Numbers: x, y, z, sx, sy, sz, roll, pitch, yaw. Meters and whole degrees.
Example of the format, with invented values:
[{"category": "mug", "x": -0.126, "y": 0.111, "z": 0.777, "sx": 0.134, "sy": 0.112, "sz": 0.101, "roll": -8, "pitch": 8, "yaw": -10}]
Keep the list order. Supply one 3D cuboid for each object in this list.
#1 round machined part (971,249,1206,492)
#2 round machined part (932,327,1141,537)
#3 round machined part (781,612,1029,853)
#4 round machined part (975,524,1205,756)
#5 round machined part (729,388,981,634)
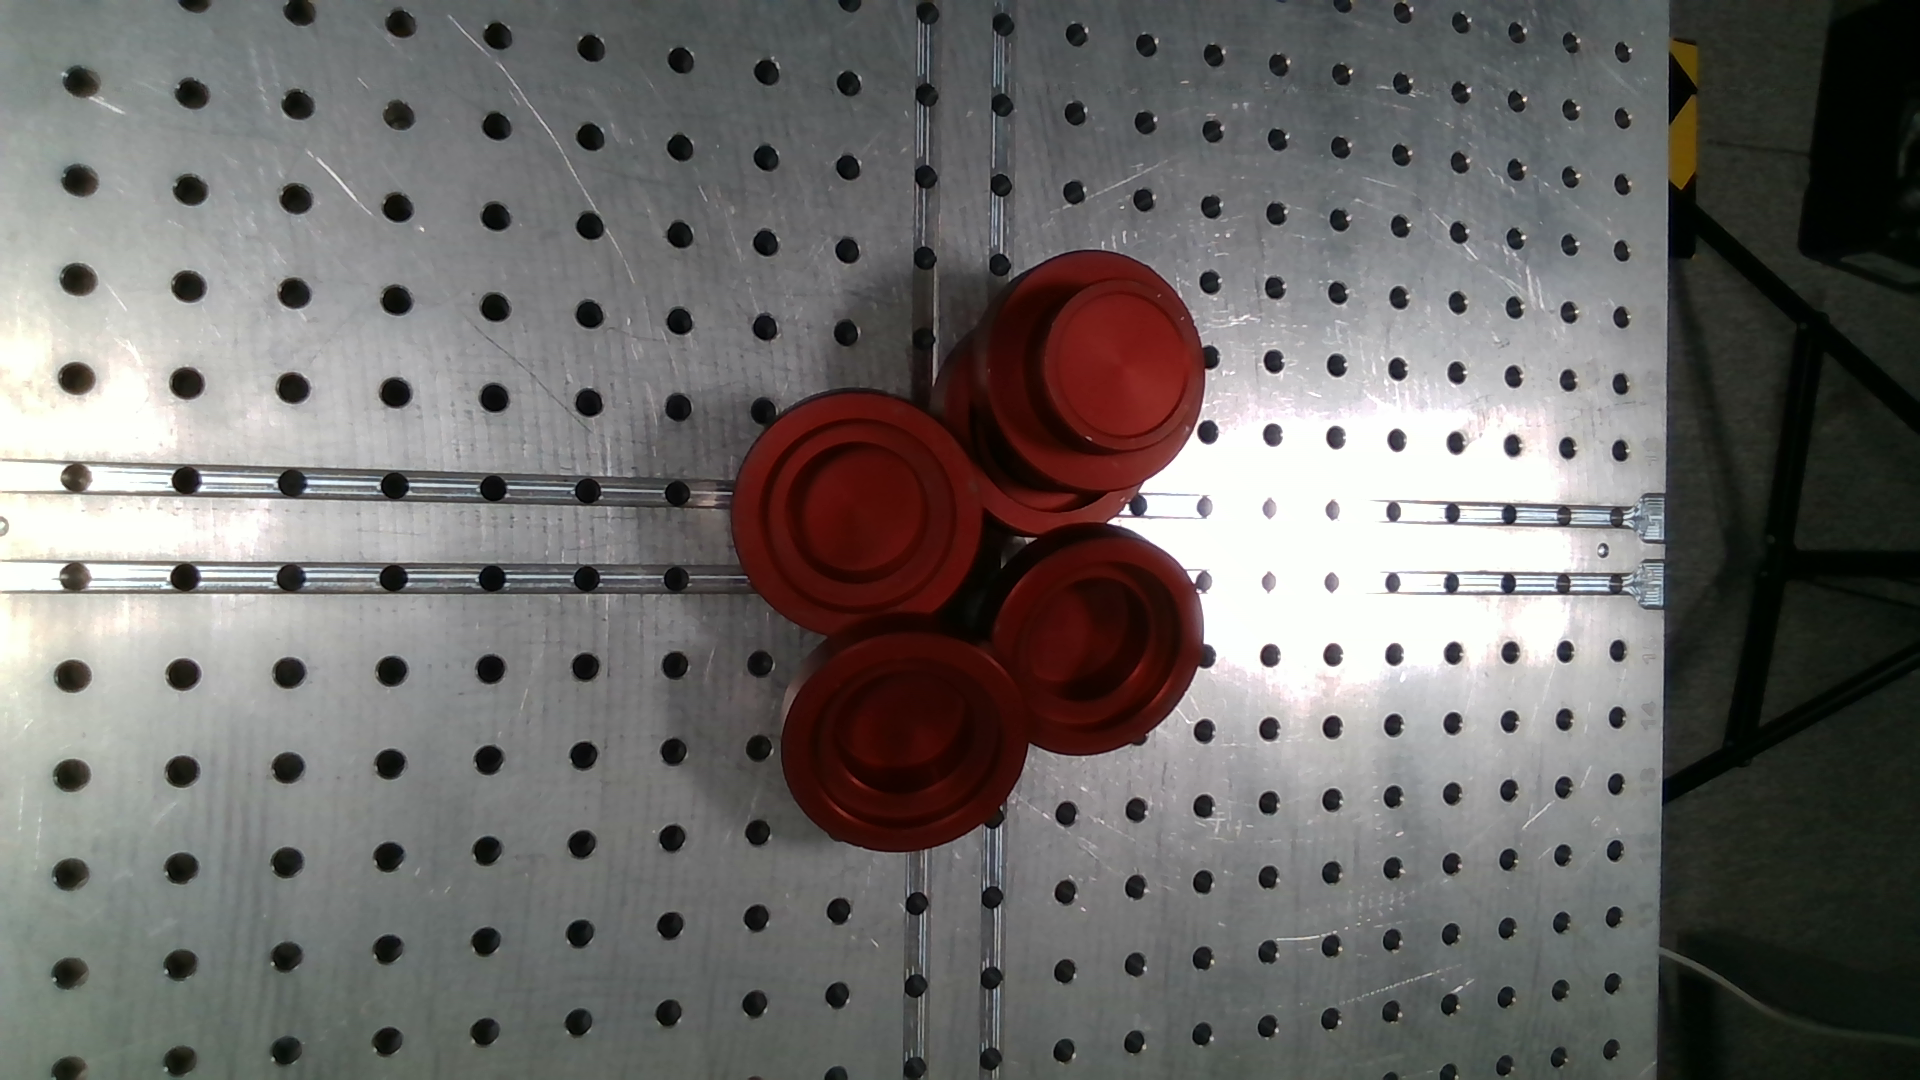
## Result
[{"category": "round machined part", "x": 0.057, "y": -0.068, "z": 0.555, "sx": 0.098, "sy": 0.042, "sz": 0.098, "roll": 0, "pitch": 90, "yaw": -20}, {"category": "round machined part", "x": 0.032, "y": -0.050, "z": 0.590, "sx": 0.098, "sy": 0.042, "sz": 0.098, "roll": 0, "pitch": 90, "yaw": -20}, {"category": "round machined part", "x": -0.024, "y": 0.074, "z": 0.558, "sx": 0.098, "sy": 0.042, "sz": 0.098, "roll": -3, "pitch": 111, "yaw": -8}, {"category": "round machined part", "x": 0.051, "y": 0.039, "z": 0.589, "sx": 0.098, "sy": 0.042, "sz": 0.098, "roll": -6, "pitch": 108, "yaw": -18}, {"category": "round machined part", "x": -0.042, "y": -0.013, "z": 0.554, "sx": 0.098, "sy": 0.042, "sz": 0.098, "roll": -1, "pitch": 100, "yaw": -6}]
